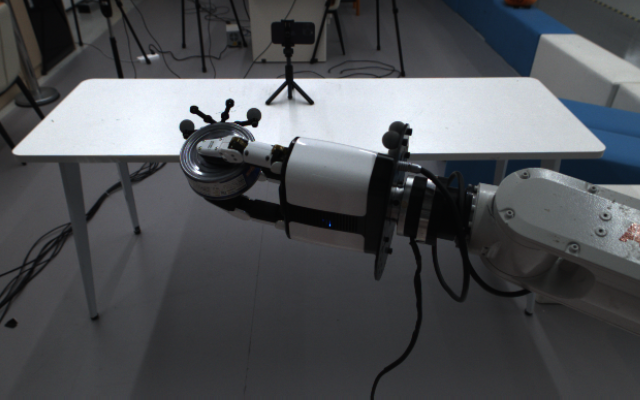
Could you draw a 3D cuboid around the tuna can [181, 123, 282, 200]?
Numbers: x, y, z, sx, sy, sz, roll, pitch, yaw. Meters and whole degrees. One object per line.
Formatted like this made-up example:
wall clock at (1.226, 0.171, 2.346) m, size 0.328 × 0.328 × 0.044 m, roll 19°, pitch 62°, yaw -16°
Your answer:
tuna can at (-0.104, -0.037, 0.533) m, size 0.085 × 0.034 × 0.085 m, roll -3°, pitch 60°, yaw 5°
